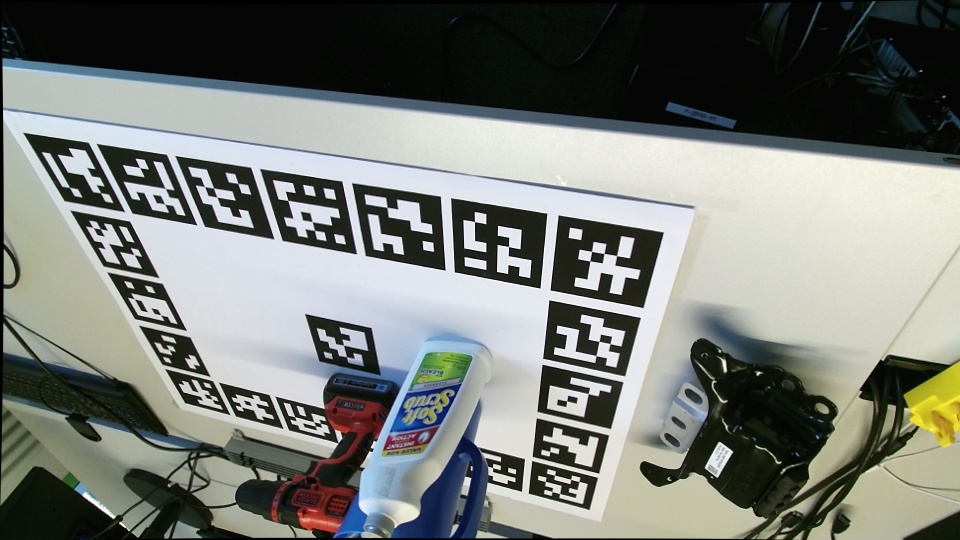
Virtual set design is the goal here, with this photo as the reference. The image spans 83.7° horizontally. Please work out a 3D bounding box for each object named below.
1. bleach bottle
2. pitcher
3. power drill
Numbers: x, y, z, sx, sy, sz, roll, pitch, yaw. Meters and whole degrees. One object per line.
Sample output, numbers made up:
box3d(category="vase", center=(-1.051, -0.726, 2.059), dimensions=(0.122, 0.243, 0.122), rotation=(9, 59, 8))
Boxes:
box3d(category="bleach bottle", center=(-0.070, 0.214, 0.611), dimensions=(0.103, 0.250, 0.068), rotation=(3, 127, 16))
box3d(category="pitcher", center=(-0.076, 0.281, 0.691), dimensions=(0.189, 0.242, 0.133), rotation=(-14, 119, 27))
box3d(category="power drill", center=(-0.235, 0.263, 0.745), dimensions=(0.185, 0.186, 0.057), rotation=(8, 125, 20))
